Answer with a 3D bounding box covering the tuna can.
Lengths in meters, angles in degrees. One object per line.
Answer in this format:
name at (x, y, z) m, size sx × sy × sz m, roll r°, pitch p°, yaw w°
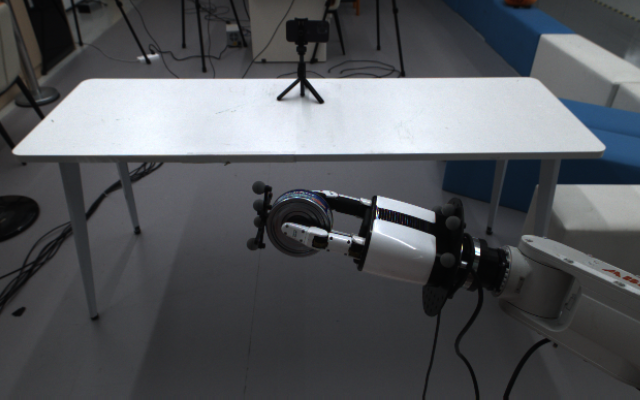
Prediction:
tuna can at (-0.024, 0.030, 0.634) m, size 0.085 × 0.085 × 0.034 m, roll 4°, pitch 18°, yaw 3°
